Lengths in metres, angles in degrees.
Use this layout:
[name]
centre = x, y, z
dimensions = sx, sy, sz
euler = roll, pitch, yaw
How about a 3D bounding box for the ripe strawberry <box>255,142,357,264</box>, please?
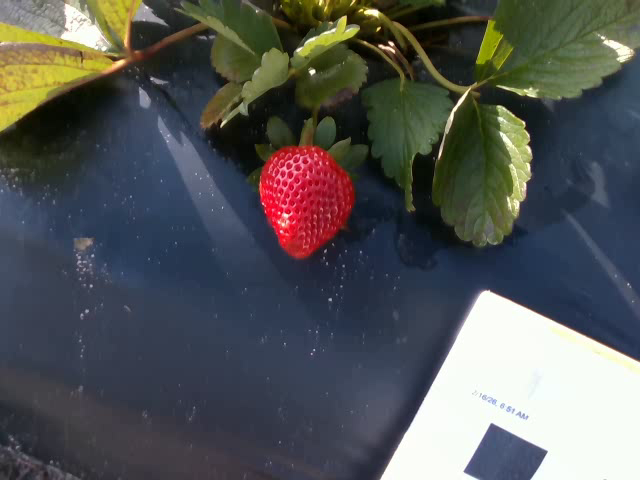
[ripe strawberry]
centre = -0.006, -0.011, 0.195
dimensions = 0.041, 0.047, 0.041
euler = -2, -44, 21
